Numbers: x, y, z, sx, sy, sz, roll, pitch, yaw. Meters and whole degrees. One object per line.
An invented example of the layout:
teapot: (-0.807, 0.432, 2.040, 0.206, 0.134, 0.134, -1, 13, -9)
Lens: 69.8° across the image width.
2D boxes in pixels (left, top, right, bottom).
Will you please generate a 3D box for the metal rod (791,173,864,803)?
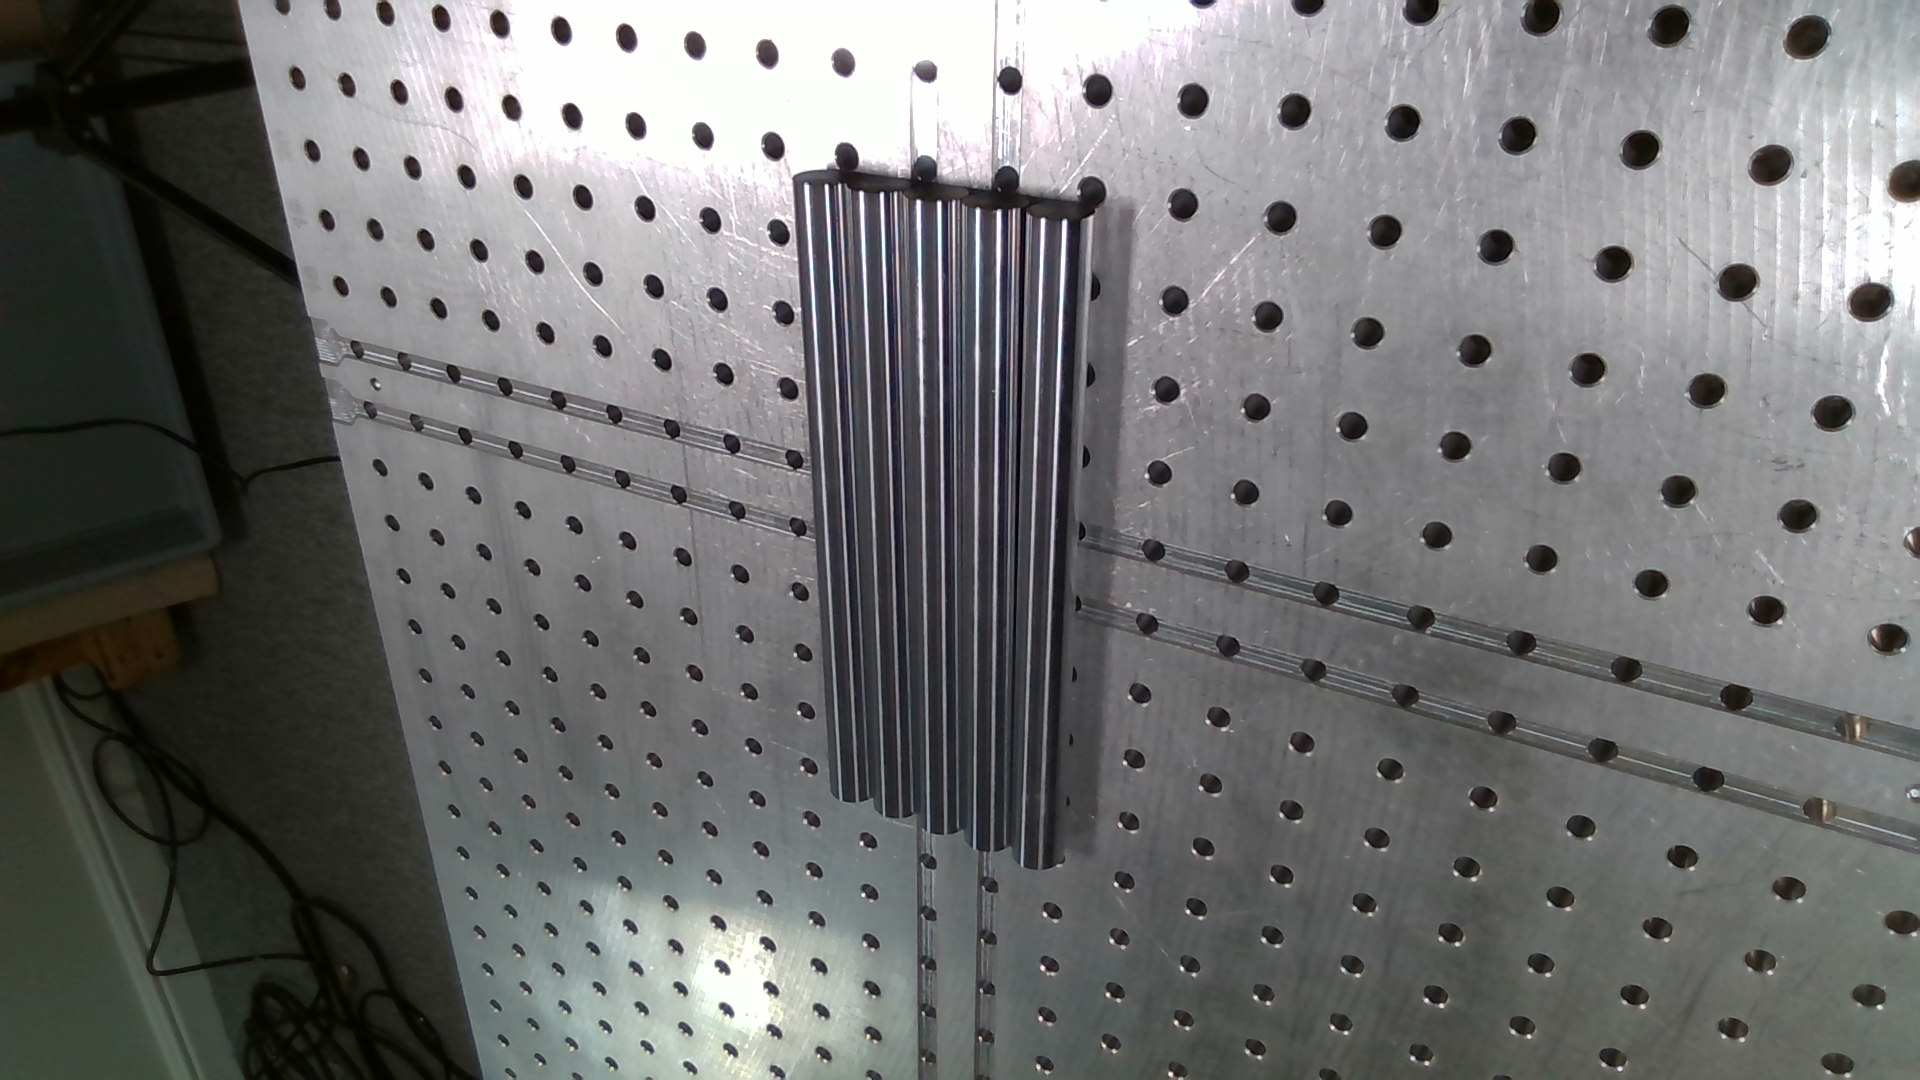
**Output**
metal rod: (-0.053, -0.010, 0.610, 0.025, 0.025, 0.301, 14, 122, 25)

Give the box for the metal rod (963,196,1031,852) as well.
metal rod: (0.014, 0.007, 0.578, 0.025, 0.025, 0.301, 15, 122, 25)

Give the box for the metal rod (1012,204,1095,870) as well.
metal rod: (0.036, 0.013, 0.568, 0.025, 0.025, 0.301, 15, 122, 25)

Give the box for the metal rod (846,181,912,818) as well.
metal rod: (-0.031, -0.004, 0.599, 0.025, 0.025, 0.301, 15, 122, 25)

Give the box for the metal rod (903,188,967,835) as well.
metal rod: (-0.009, 0.002, 0.589, 0.025, 0.025, 0.301, 15, 122, 25)
